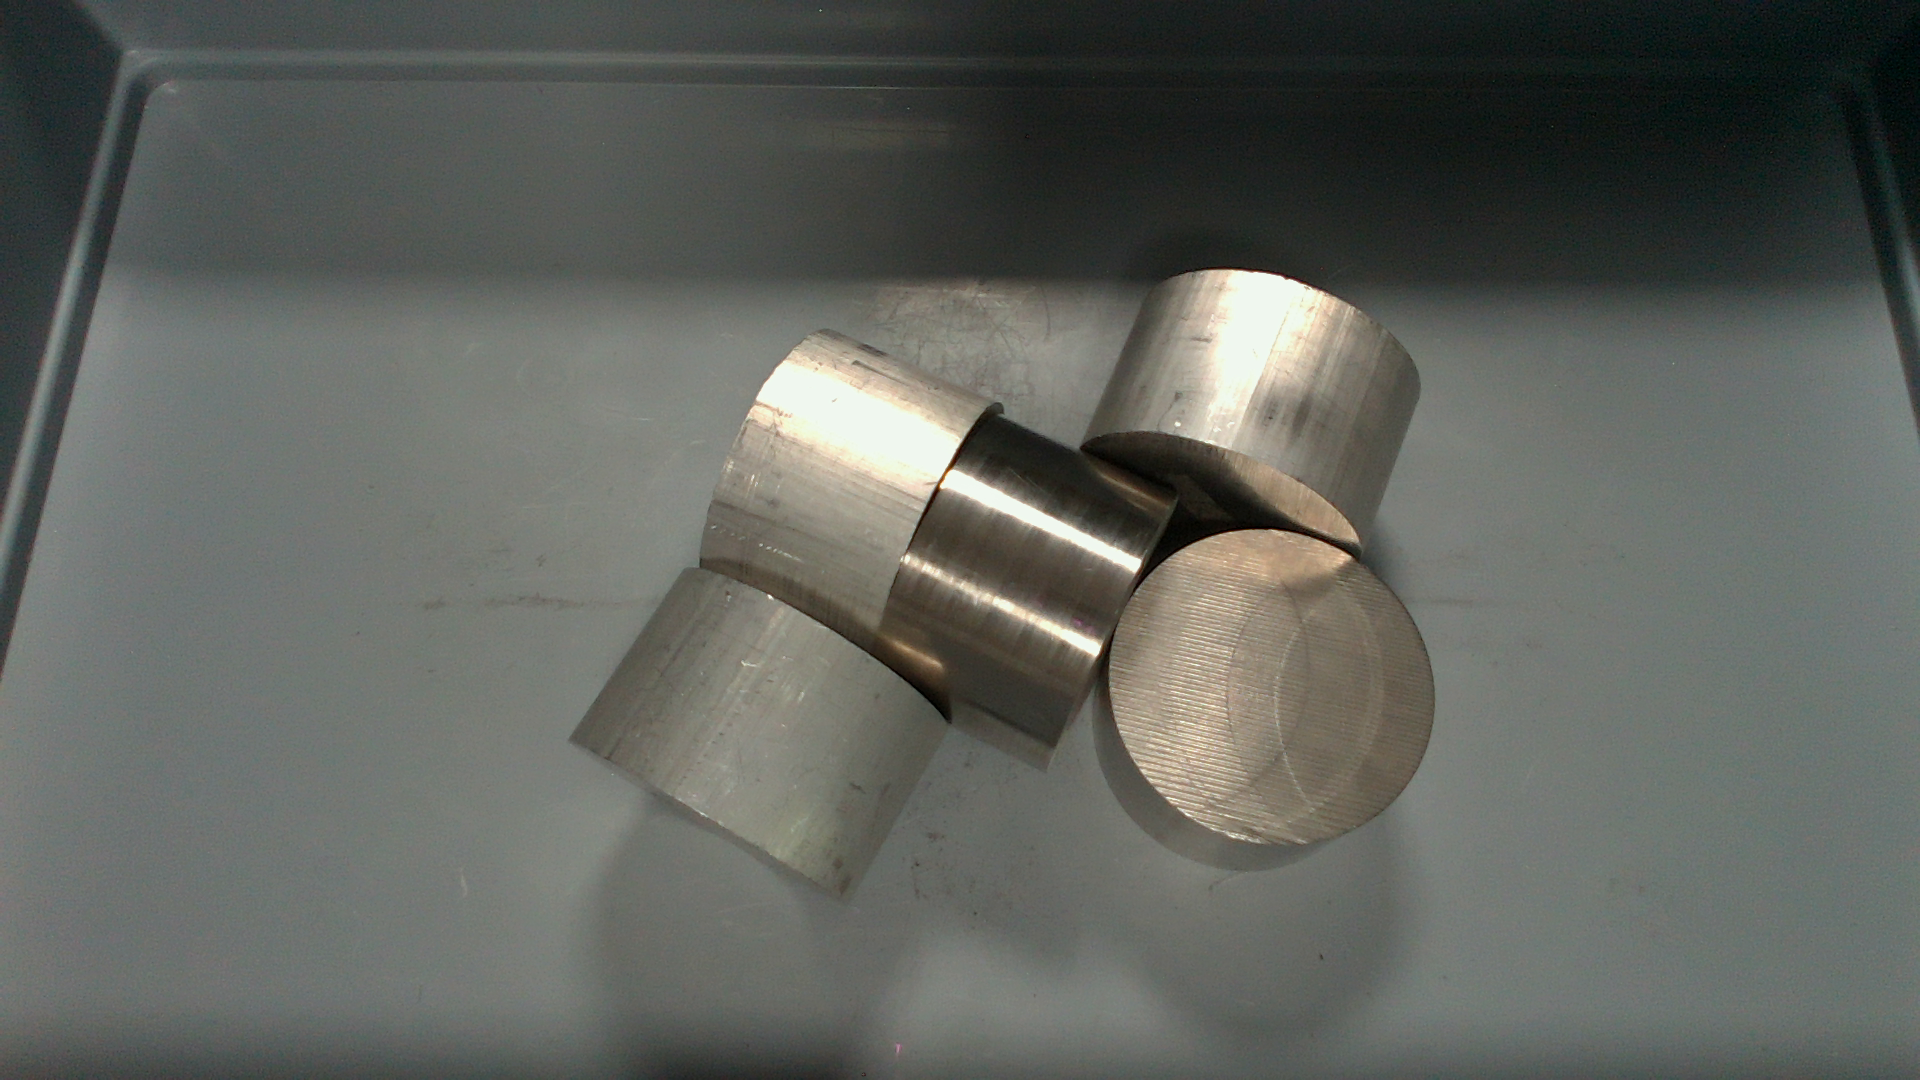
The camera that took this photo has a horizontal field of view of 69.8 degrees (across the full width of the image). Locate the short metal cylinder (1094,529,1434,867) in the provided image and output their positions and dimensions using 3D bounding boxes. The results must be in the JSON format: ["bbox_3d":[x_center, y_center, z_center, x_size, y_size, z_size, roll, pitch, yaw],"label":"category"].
[{"bbox_3d":[0.077,0.043,0.364,0.080,0.050,0.080,0,70,0],"label":"short metal cylinder"}]

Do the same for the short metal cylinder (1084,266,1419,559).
[{"bbox_3d":[0.077,-0.029,0.375,0.080,0.080,0.050,22,72,8],"label":"short metal cylinder"}]

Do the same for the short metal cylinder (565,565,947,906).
[{"bbox_3d":[-0.050,0.049,0.346,0.080,0.080,0.050,28,72,10],"label":"short metal cylinder"}]

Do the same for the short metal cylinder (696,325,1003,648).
[{"bbox_3d":[-0.028,-0.011,0.368,0.050,0.080,0.080,24,72,9],"label":"short metal cylinder"}]

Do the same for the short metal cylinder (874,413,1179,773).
[{"bbox_3d":[0.018,0.014,0.360,0.050,0.080,0.080,25,72,9],"label":"short metal cylinder"}]
